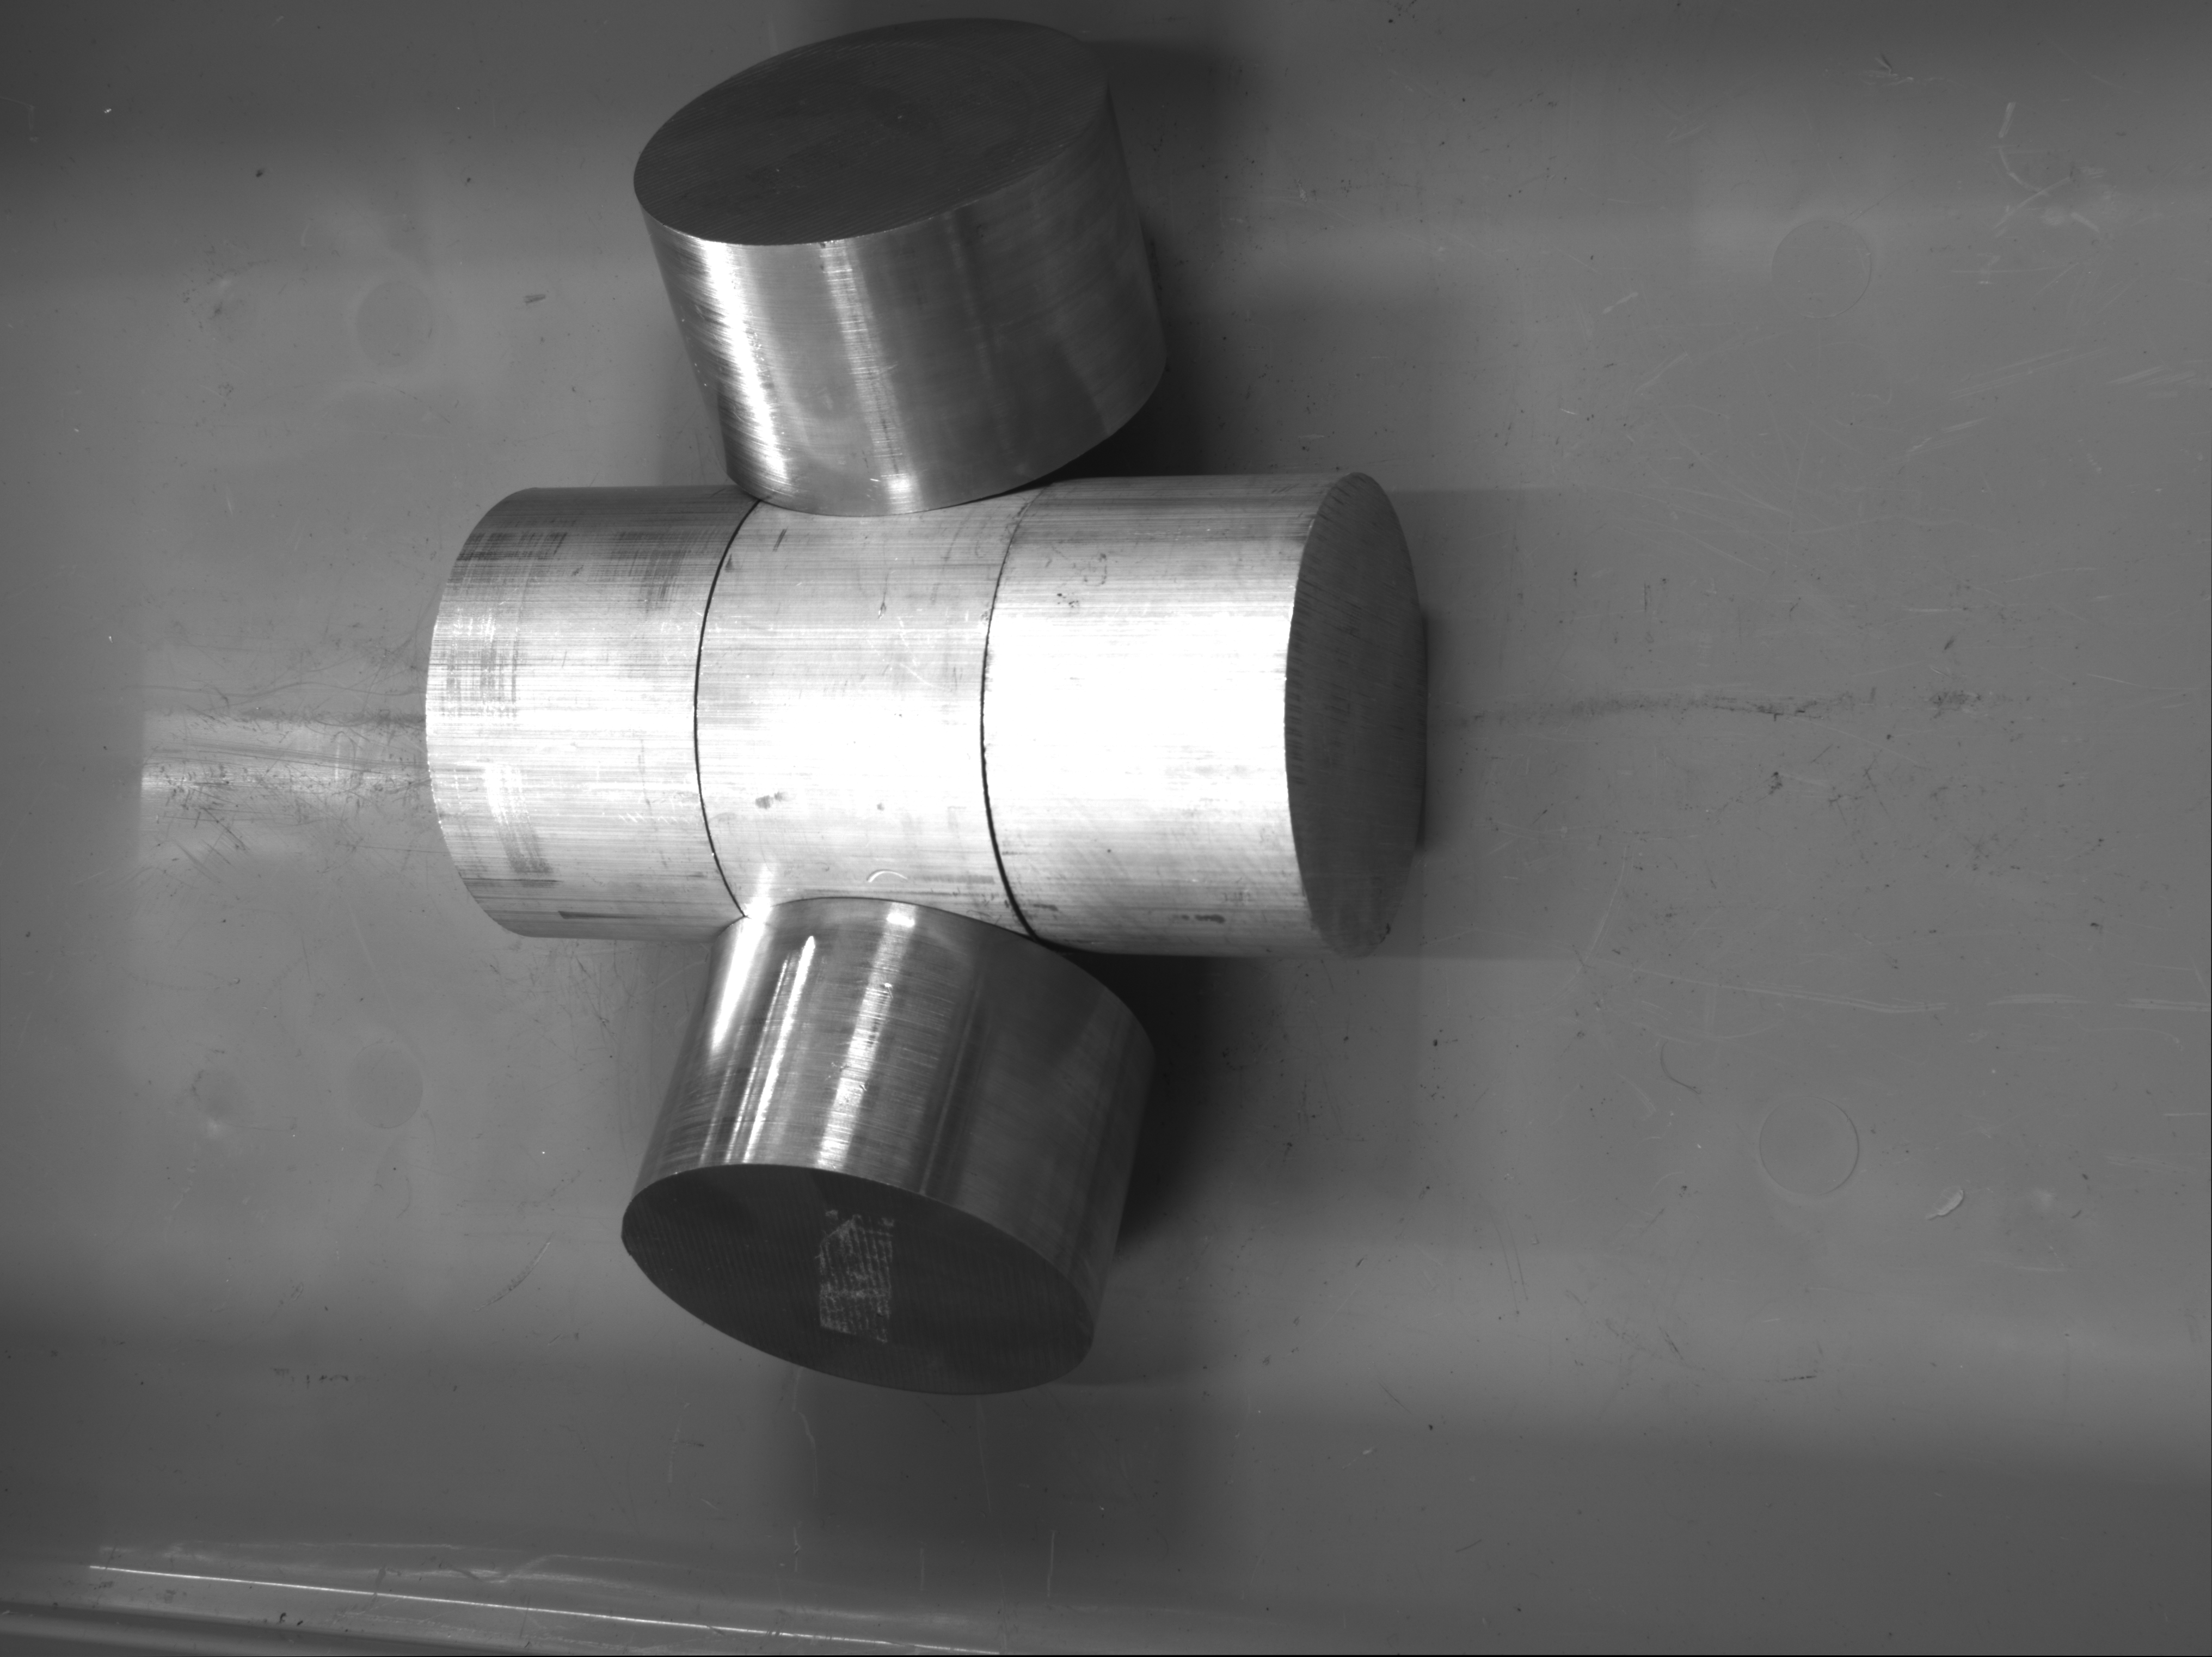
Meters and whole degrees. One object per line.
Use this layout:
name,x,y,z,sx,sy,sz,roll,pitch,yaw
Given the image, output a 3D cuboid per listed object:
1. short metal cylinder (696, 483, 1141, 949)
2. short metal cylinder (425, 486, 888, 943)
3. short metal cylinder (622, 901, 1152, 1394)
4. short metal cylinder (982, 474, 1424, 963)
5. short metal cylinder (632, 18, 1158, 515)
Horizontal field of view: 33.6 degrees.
short metal cylinder,-0.029,-0.019,0.626,0.050,0.080,0.080,1,90,21
short metal cylinder,-0.077,-0.020,0.644,0.050,0.080,0.080,1,90,21
short metal cylinder,-0.036,0.055,0.621,0.080,0.080,0.050,0,56,20
short metal cylinder,0.018,-0.018,0.609,0.050,0.080,0.080,1,90,21
short metal cylinder,-0.035,-0.096,0.620,0.080,0.080,0.050,2,128,20
